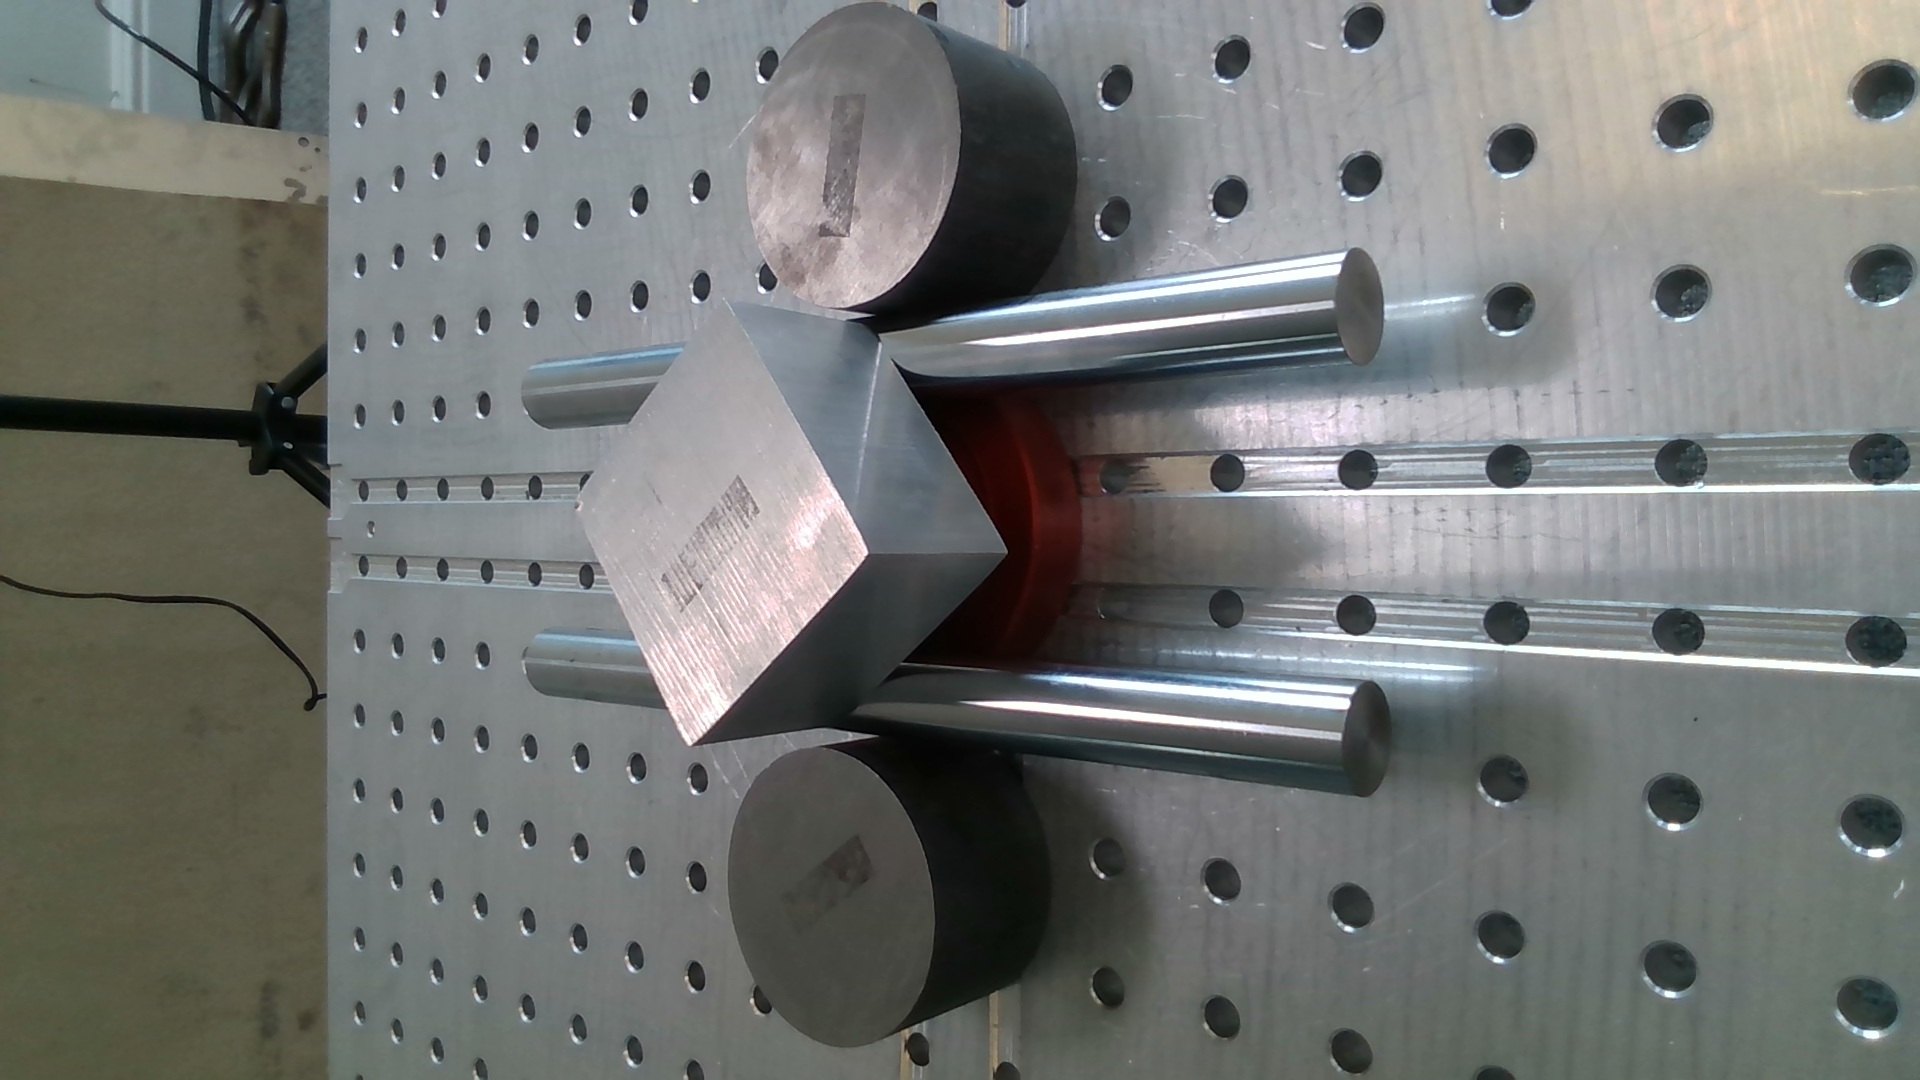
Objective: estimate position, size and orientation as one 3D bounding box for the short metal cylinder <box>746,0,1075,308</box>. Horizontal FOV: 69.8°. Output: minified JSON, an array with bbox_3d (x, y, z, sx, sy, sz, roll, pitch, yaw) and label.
[{"bbox_3d":[-0.015,-0.104,0.389,0.080,0.050,0.080,0,91,40],"label":"short metal cylinder"}]

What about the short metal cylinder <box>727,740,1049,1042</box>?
[{"bbox_3d":[-0.021,0.096,0.396,0.080,0.050,0.080,0,91,40],"label":"short metal cylinder"}]

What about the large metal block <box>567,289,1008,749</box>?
[{"bbox_3d":[-0.047,-0.004,0.356,0.080,0.050,0.080,-46,63,31],"label":"large metal block"}]

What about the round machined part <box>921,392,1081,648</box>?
[{"bbox_3d":[-0.017,-0.005,0.398,0.098,0.042,0.098,0,91,40],"label":"round machined part"}]

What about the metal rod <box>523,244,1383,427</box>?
[{"bbox_3d":[-0.029,-0.051,0.391,0.300,0.025,0.025,0,91,40],"label":"metal rod"}]

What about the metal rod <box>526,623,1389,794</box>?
[{"bbox_3d":[-0.028,0.042,0.391,0.300,0.025,0.025,0,90,40],"label":"metal rod"}]
